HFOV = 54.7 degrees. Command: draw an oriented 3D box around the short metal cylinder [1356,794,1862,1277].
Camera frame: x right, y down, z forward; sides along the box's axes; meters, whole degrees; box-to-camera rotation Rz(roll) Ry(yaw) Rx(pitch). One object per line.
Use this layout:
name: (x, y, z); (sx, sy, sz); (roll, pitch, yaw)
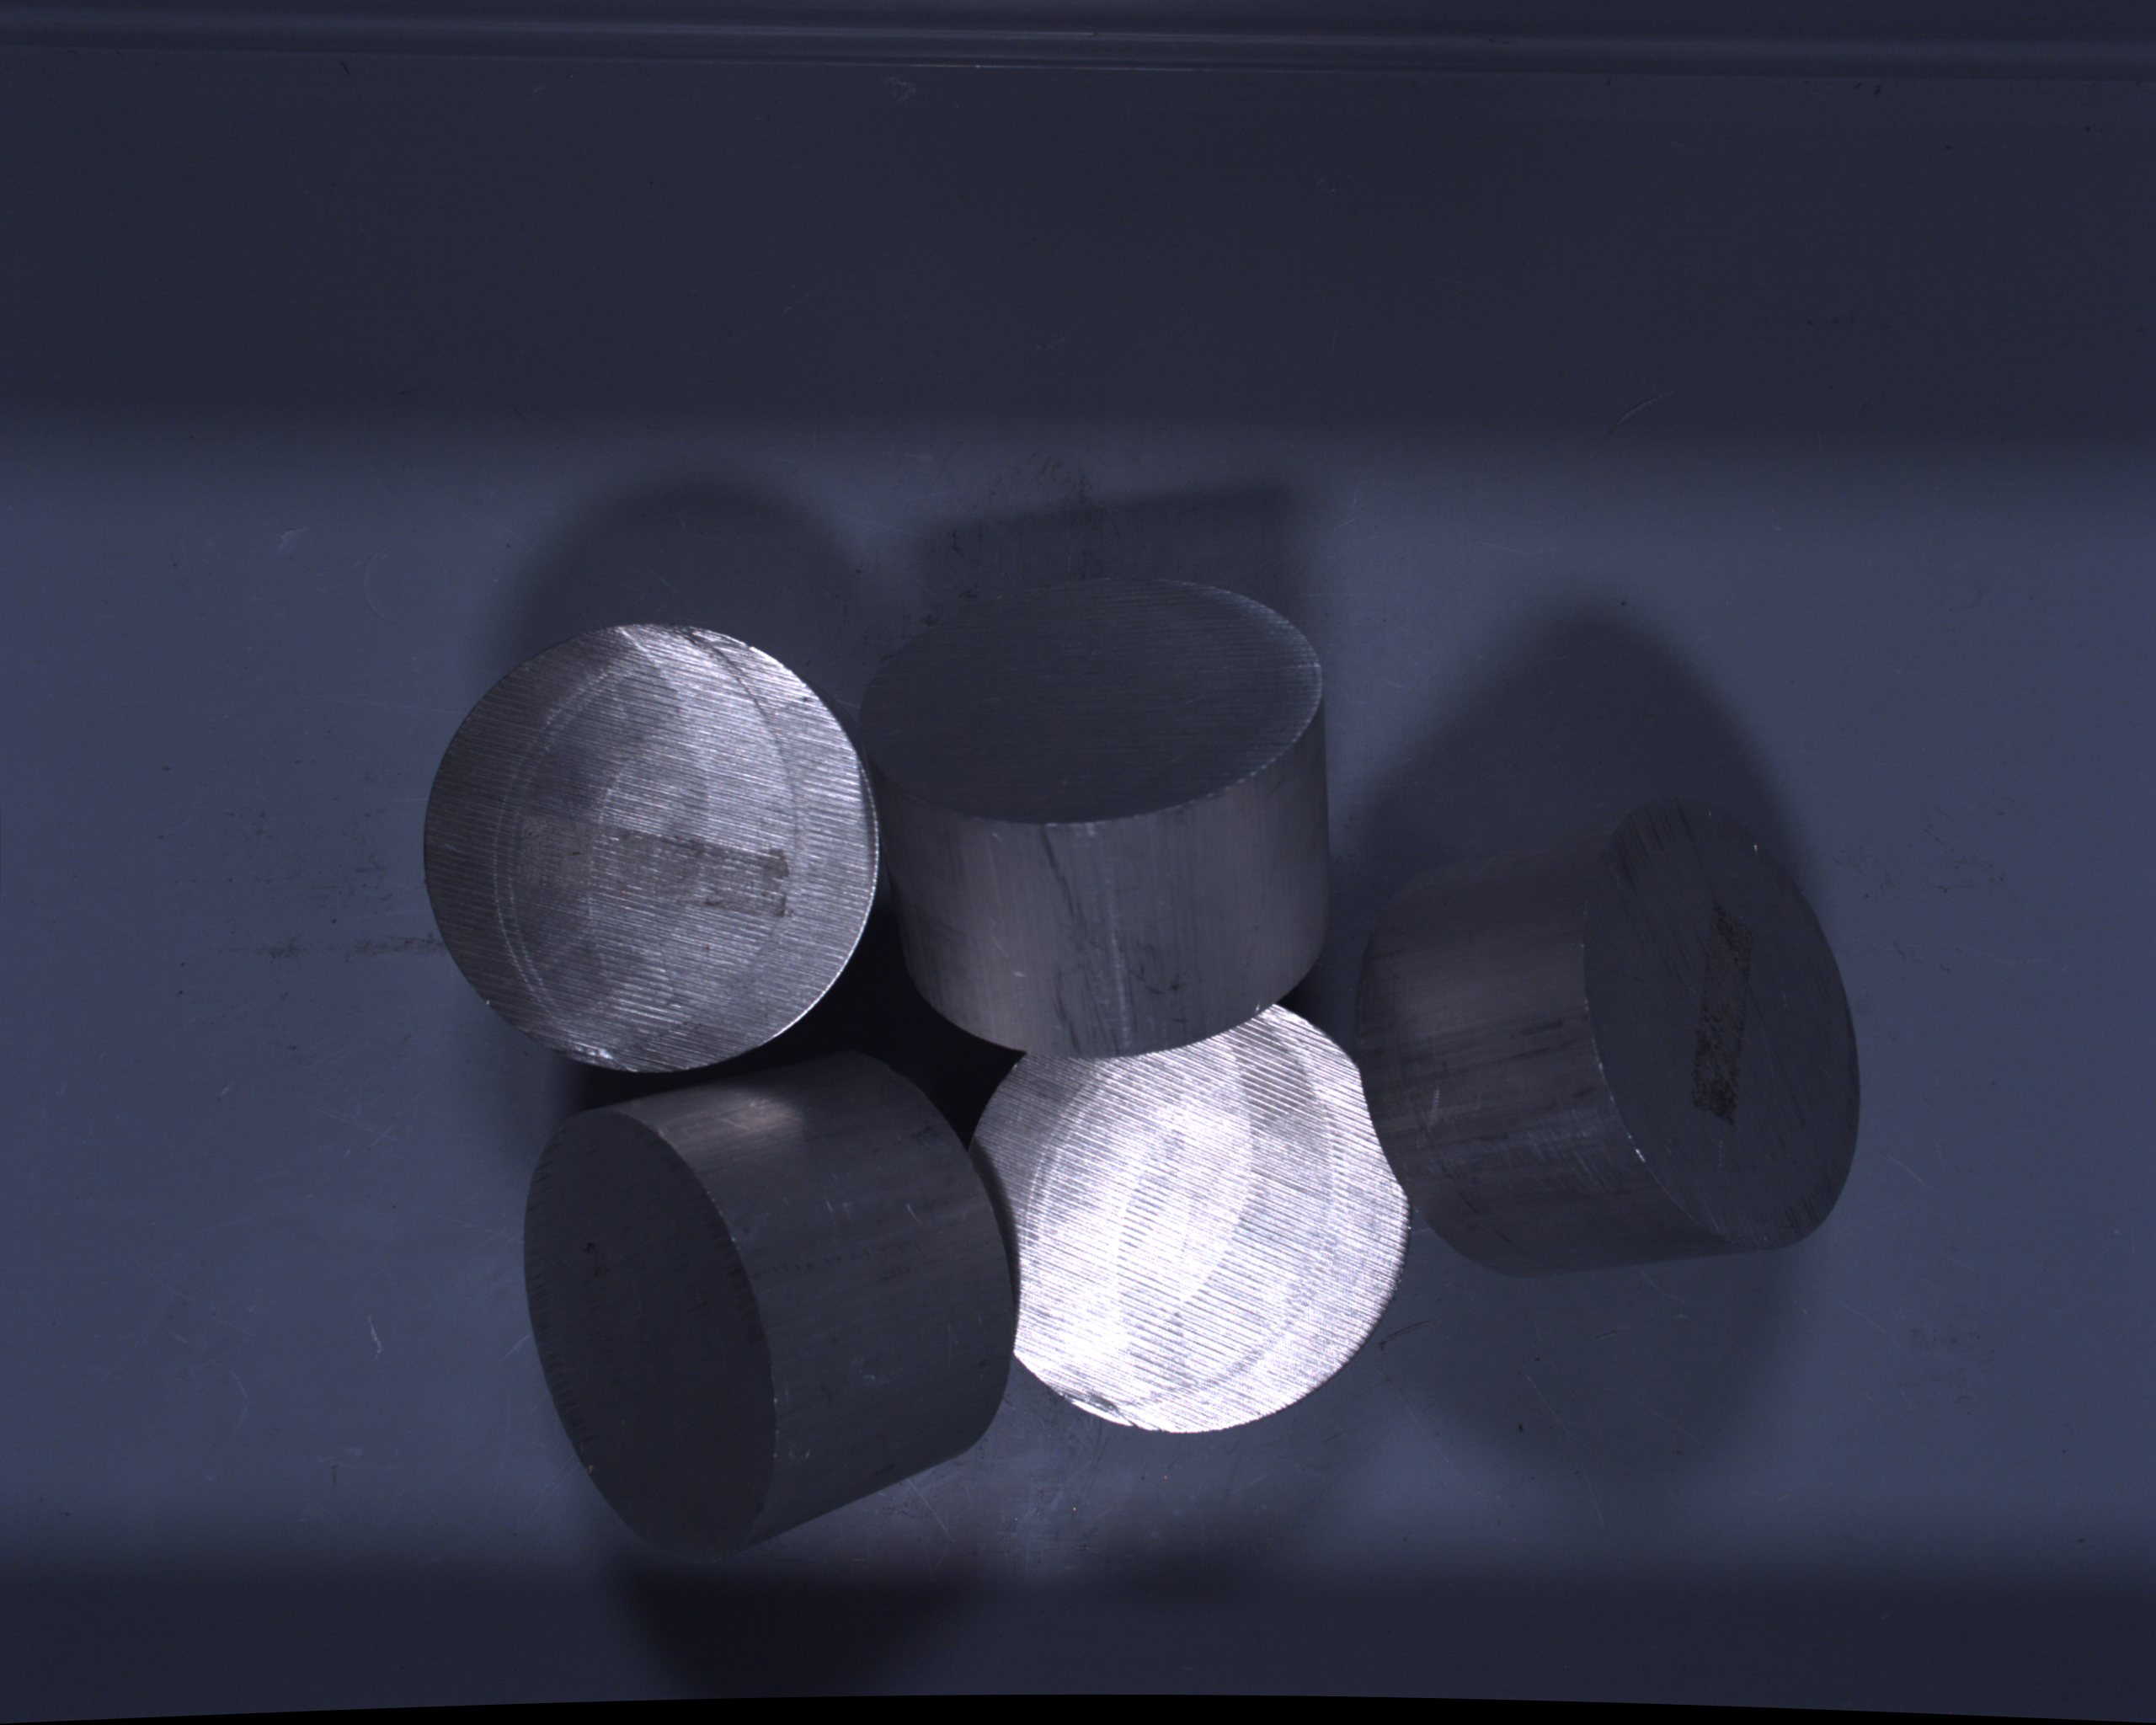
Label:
short metal cylinder: (0.097, 0.032, 0.378); (0.081, 0.050, 0.080); (14, 67, -37)

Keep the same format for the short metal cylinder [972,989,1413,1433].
short metal cylinder: (0.020, 0.062, 0.398); (0.081, 0.050, 0.079); (0, 90, -1)

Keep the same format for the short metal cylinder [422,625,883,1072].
short metal cylinder: (-0.076, -0.003, 0.395); (0.081, 0.050, 0.079); (0, 90, -1)

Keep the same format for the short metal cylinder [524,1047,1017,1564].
short metal cylinder: (-0.057, 0.077, 0.375); (0.050, 0.080, 0.080); (-11, 90, -43)

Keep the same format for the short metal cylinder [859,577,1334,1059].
short metal cylinder: (0.005, -0.010, 0.375); (0.081, 0.080, 0.050); (-8, 126, -1)
